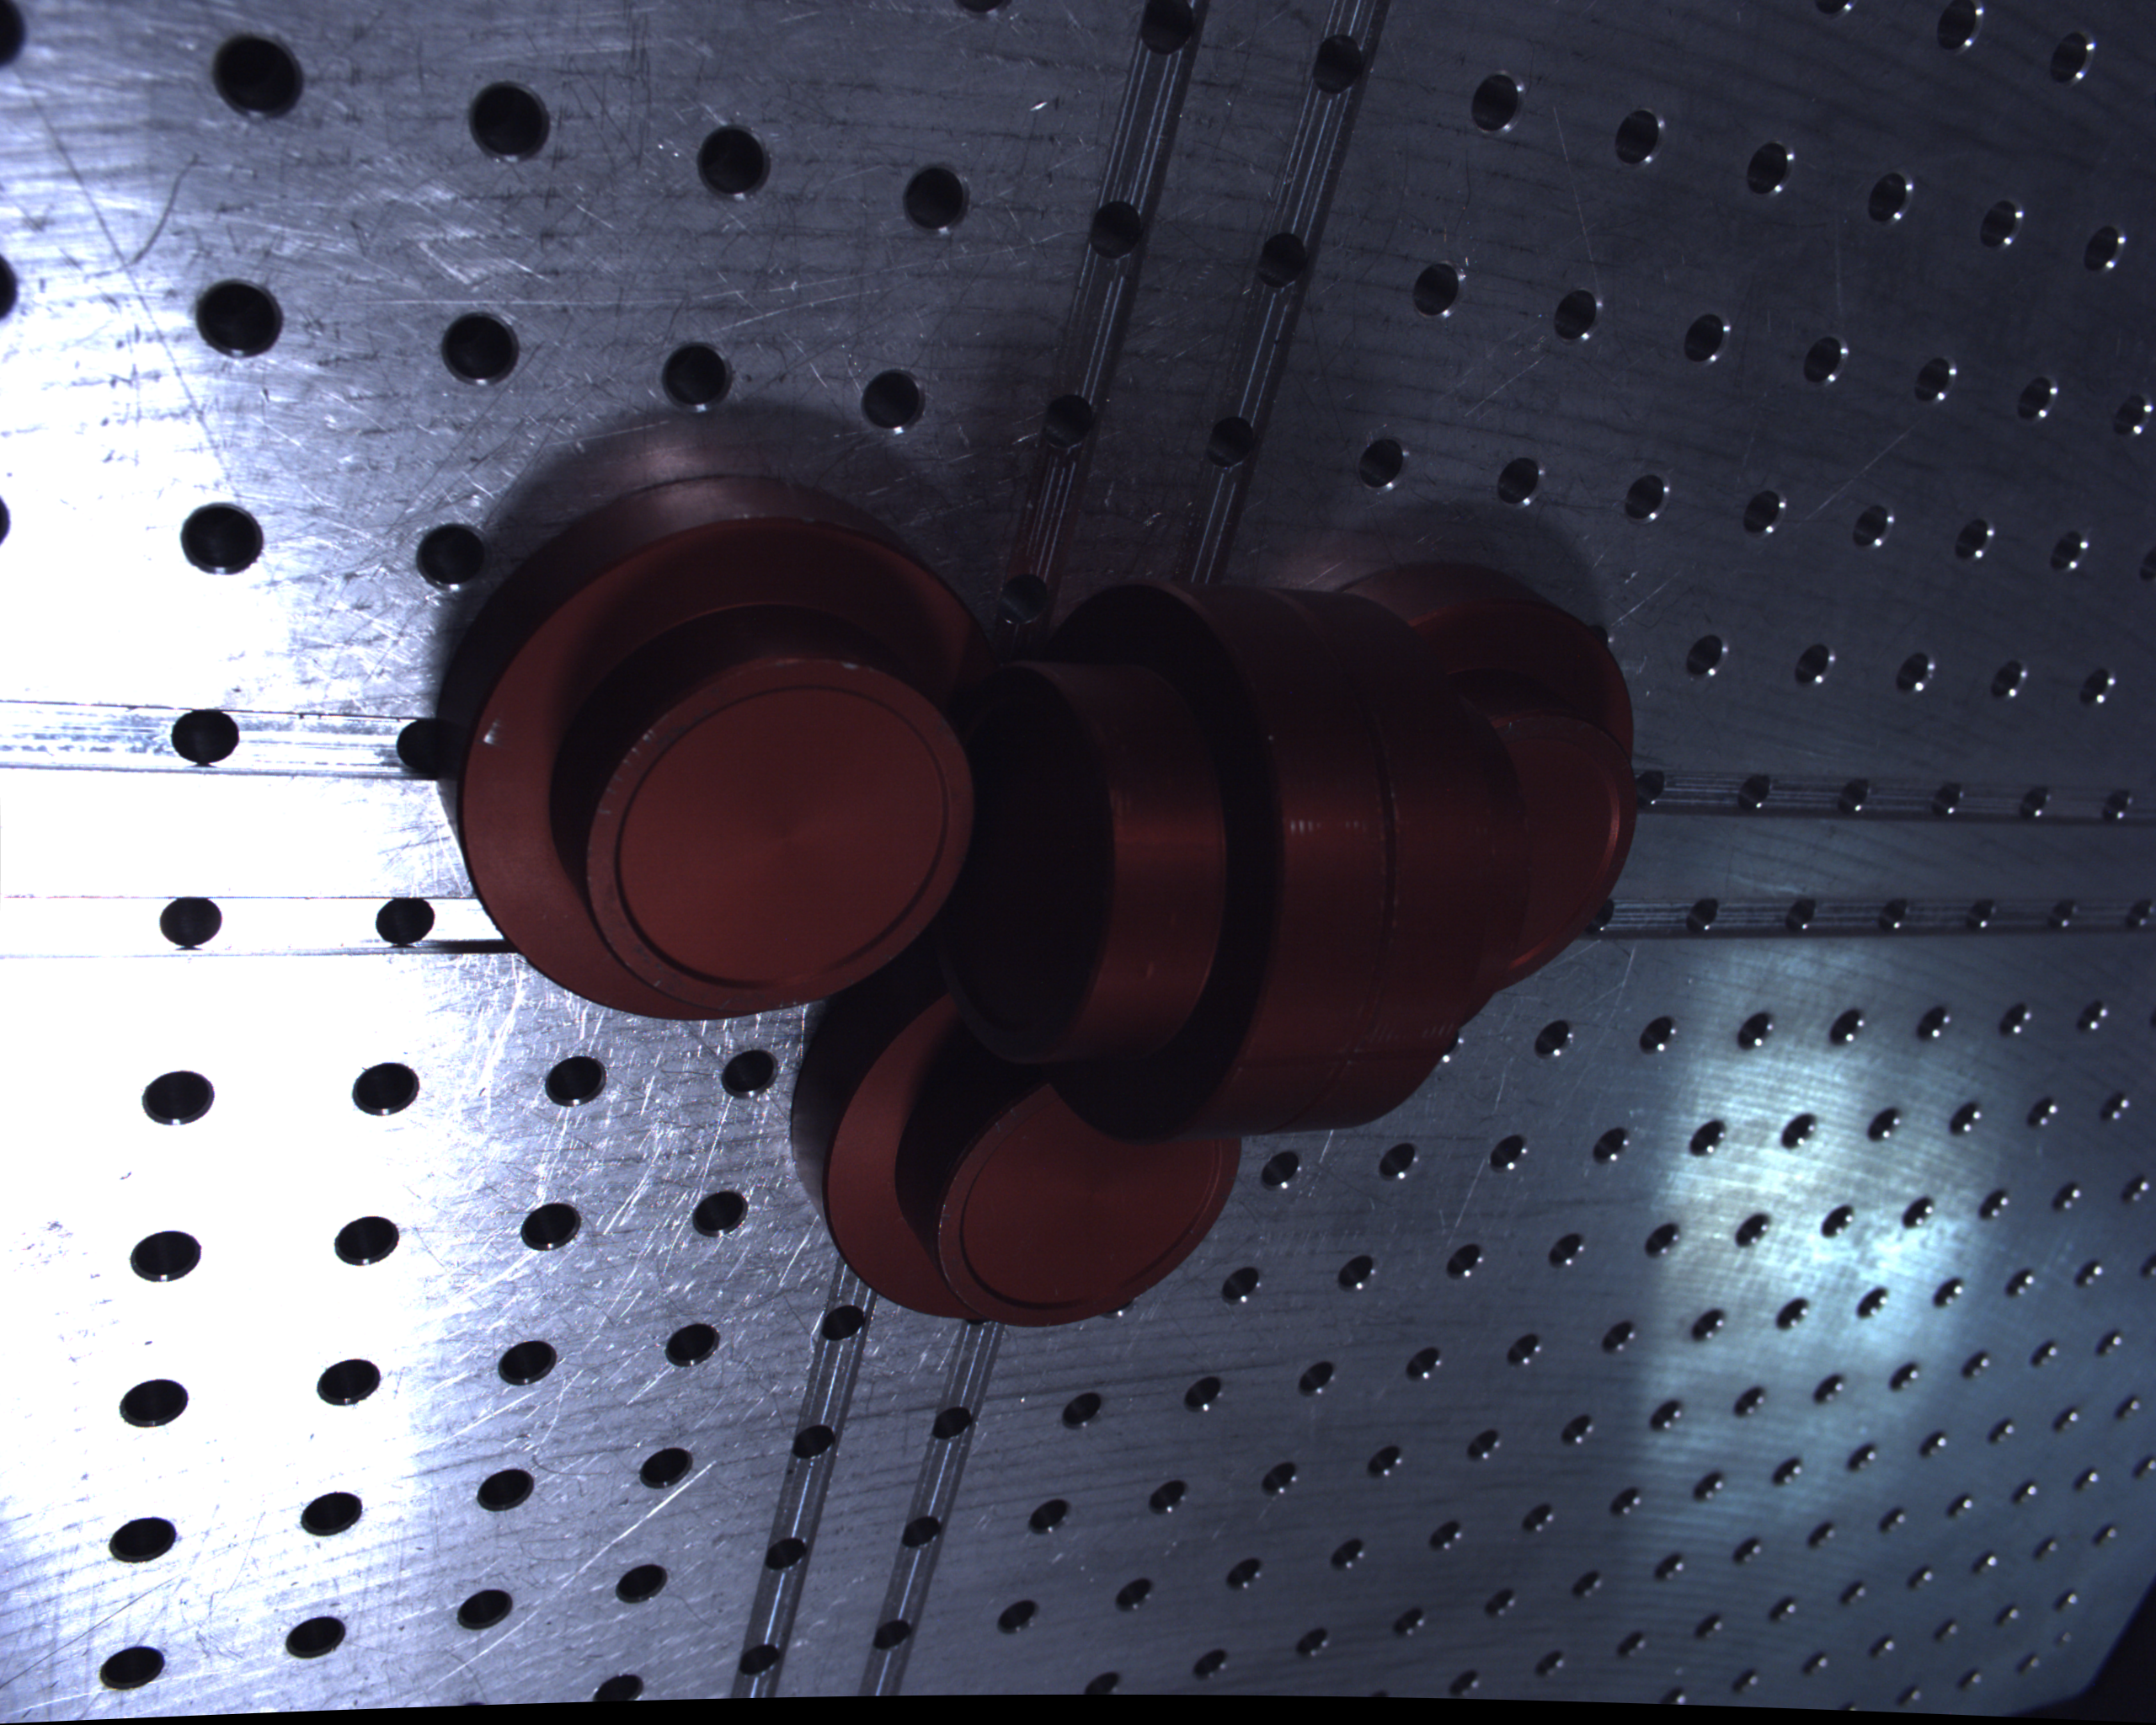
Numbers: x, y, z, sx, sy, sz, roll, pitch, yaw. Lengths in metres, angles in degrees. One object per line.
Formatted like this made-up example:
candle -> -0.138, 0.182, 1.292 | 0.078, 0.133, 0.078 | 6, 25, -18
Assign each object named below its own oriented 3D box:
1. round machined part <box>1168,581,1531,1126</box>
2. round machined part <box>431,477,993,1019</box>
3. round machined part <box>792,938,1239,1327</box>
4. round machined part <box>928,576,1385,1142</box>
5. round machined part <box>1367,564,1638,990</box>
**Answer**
round machined part -> 0.045, -0.002, 0.382 | 0.042, 0.098, 0.097 | -1, 119, -29
round machined part -> -0.058, -0.014, 0.361 | 0.099, 0.042, 0.097 | -14, 125, -21
round machined part -> -0.006, 0.057, 0.433 | 0.099, 0.042, 0.097 | -14, 125, -21
round machined part -> 0.006, -0.001, 0.360 | 0.042, 0.098, 0.097 | 1, 118, -30
round machined part -> 0.077, -0.010, 0.437 | 0.099, 0.042, 0.097 | -14, 125, -21
